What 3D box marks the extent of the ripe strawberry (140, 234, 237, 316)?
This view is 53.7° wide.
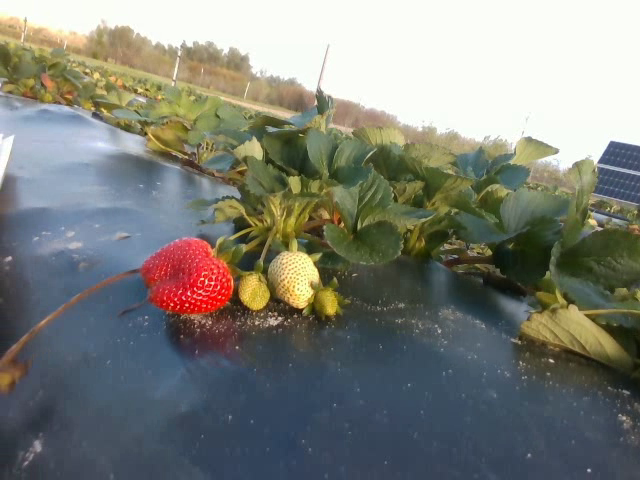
[{"bbox_3d":[-0.078,0.015,0.348,0.050,0.035,0.047,-24,31,-31],"label":"ripe strawberry"}]
